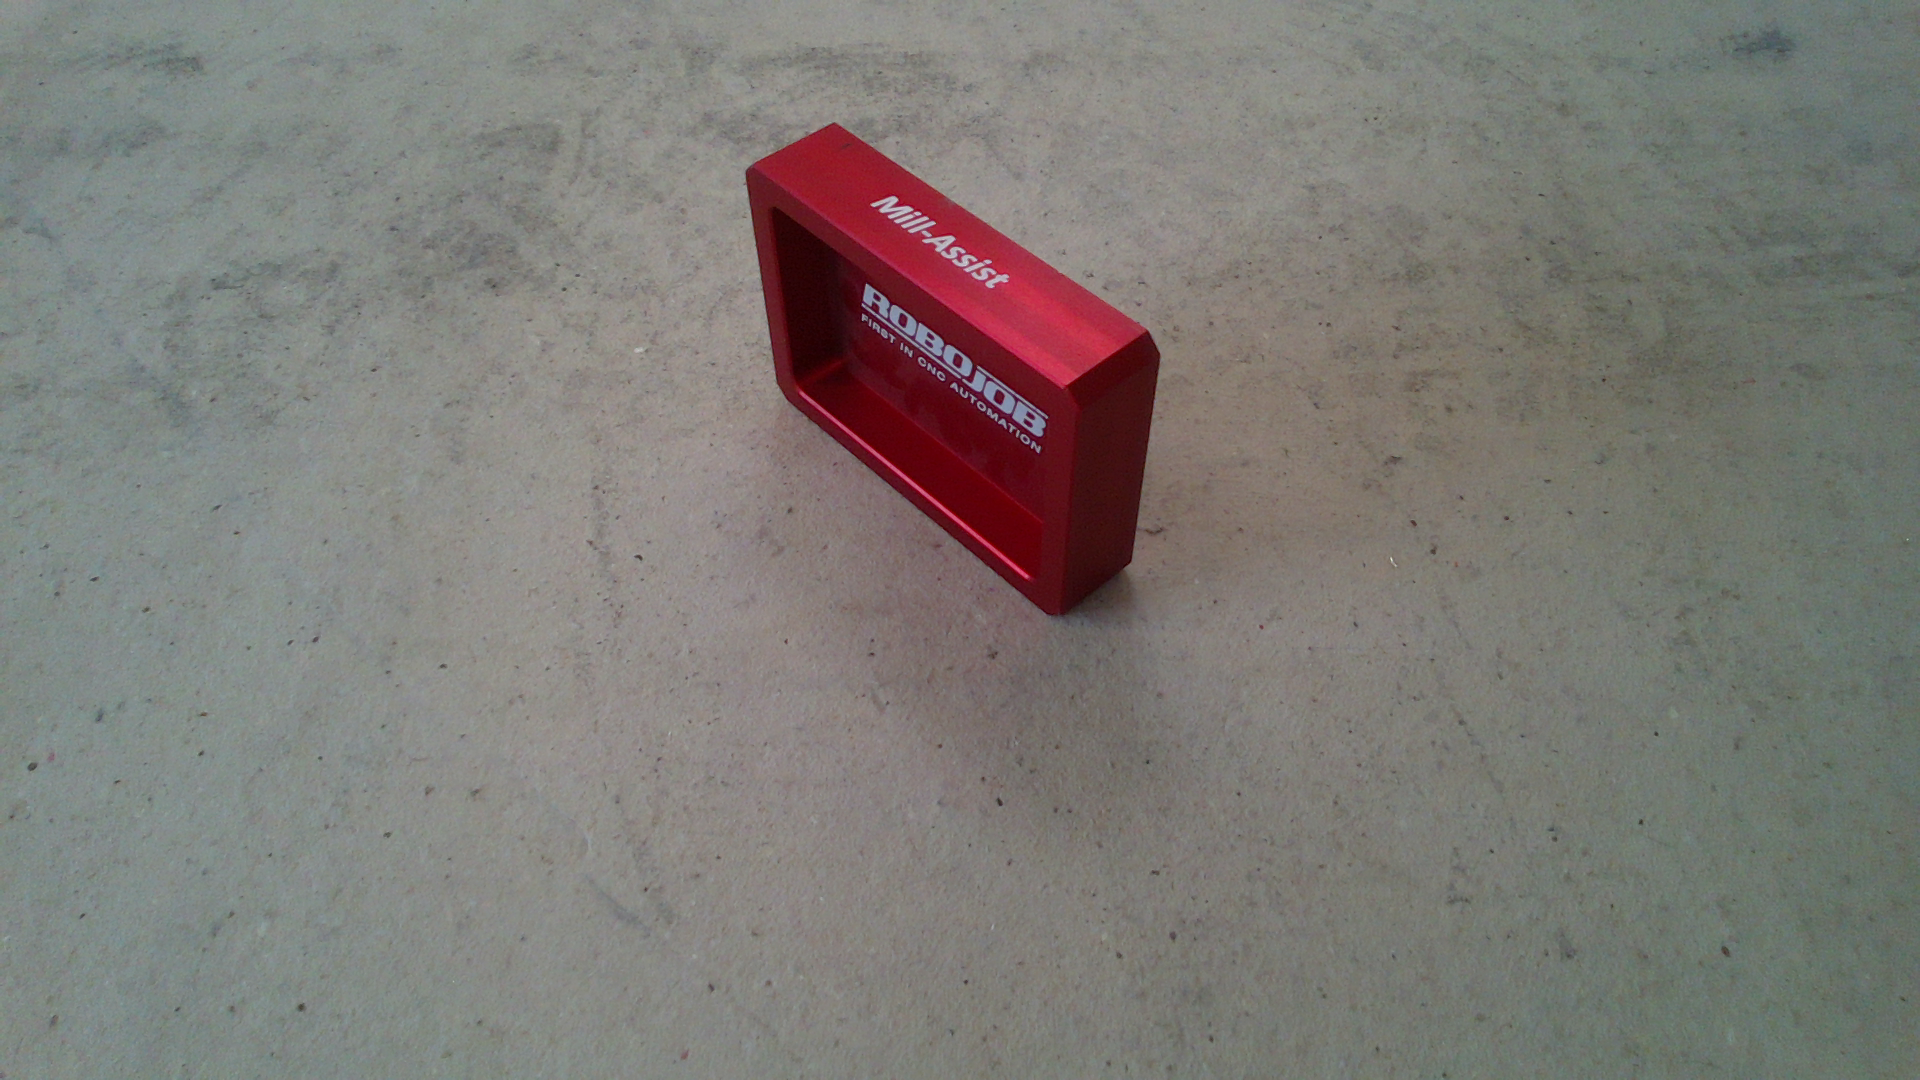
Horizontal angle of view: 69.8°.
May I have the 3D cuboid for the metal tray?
[{"bbox_3d":[-0.005,-0.049,0.390,0.030,0.090,0.130,-36,59,-26],"label":"metal tray"}]
